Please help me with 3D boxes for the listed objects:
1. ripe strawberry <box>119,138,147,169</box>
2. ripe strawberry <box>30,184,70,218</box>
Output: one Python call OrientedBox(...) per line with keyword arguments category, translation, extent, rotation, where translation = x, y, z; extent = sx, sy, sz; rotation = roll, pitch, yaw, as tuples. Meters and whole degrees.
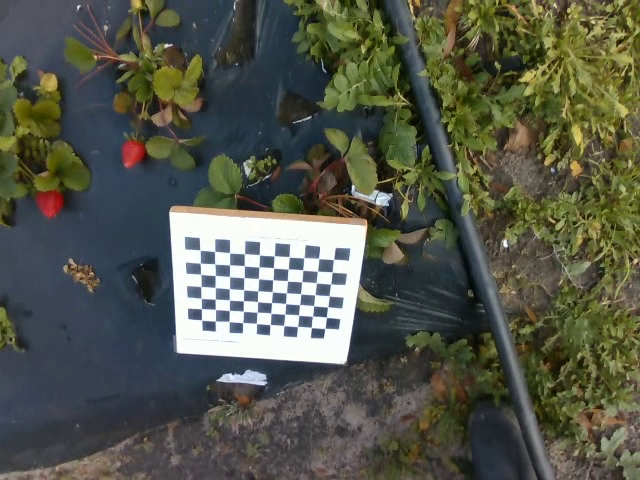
OrientedBox(category="ripe strawberry", translation=(-0.284, -0.126, 0.893), extent=(0.044, 0.052, 0.041), rotation=(21, -17, -21))
OrientedBox(category="ripe strawberry", translation=(-0.421, -0.054, 0.923), extent=(0.050, 0.050, 0.046), rotation=(1, -40, -10))
